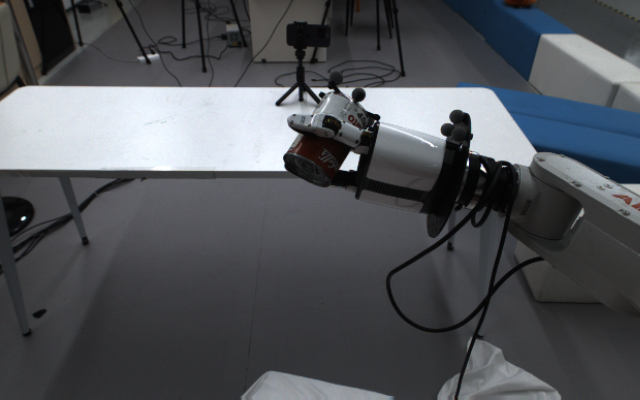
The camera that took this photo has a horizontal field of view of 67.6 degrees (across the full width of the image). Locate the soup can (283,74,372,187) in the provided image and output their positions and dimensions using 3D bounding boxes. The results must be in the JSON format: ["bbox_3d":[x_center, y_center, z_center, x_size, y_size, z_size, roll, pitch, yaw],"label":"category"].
[{"bbox_3d":[0.010,-0.076,0.606,0.067,0.067,0.101,22,71,27],"label":"soup can"}]
